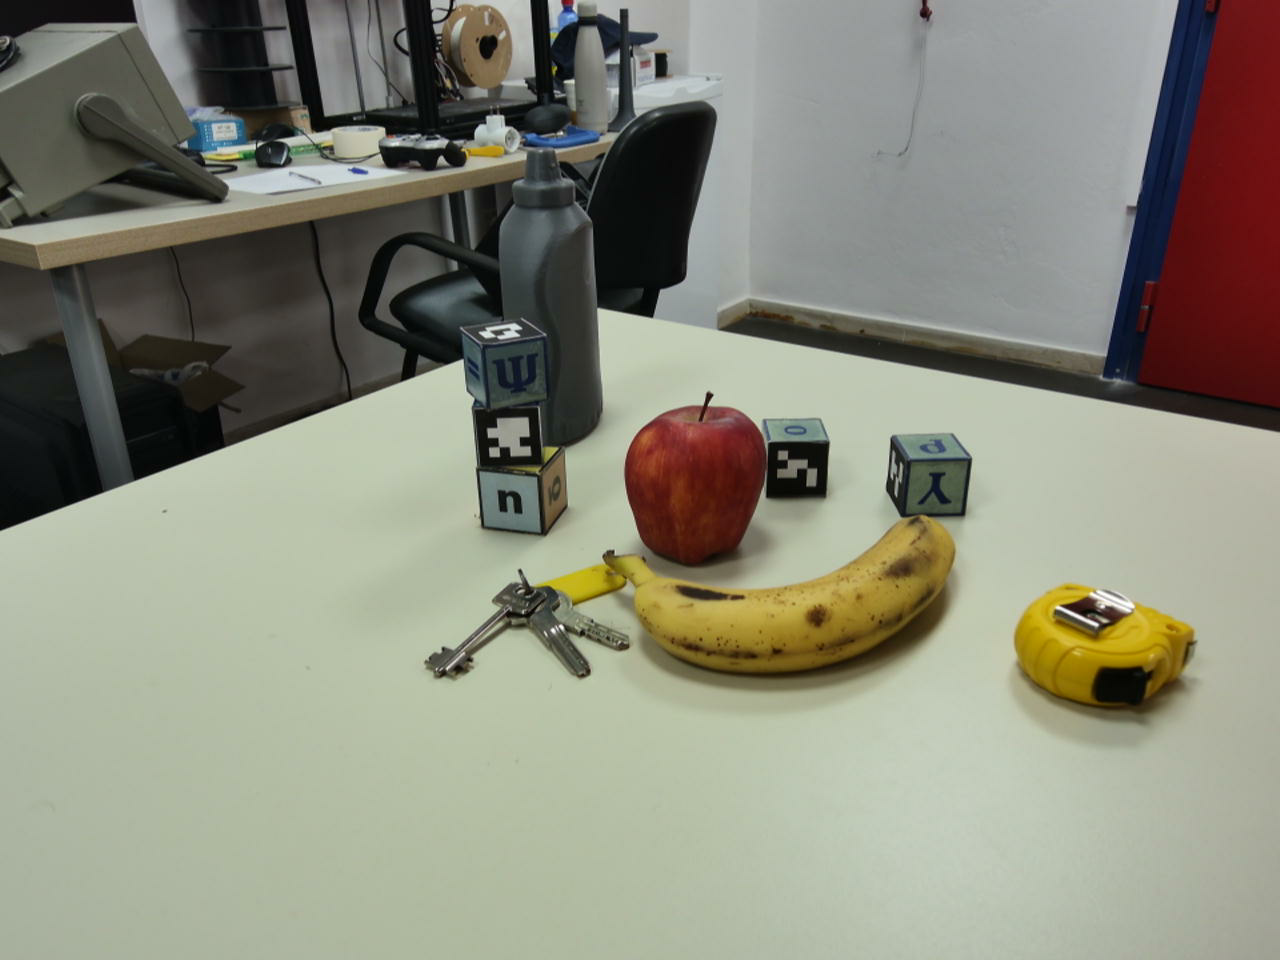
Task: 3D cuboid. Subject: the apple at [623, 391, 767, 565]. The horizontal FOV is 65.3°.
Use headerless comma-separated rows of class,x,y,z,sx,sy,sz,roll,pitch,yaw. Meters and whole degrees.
apple,0.031,-0.005,0.542,0.083,0.090,0.083,0,24,0
